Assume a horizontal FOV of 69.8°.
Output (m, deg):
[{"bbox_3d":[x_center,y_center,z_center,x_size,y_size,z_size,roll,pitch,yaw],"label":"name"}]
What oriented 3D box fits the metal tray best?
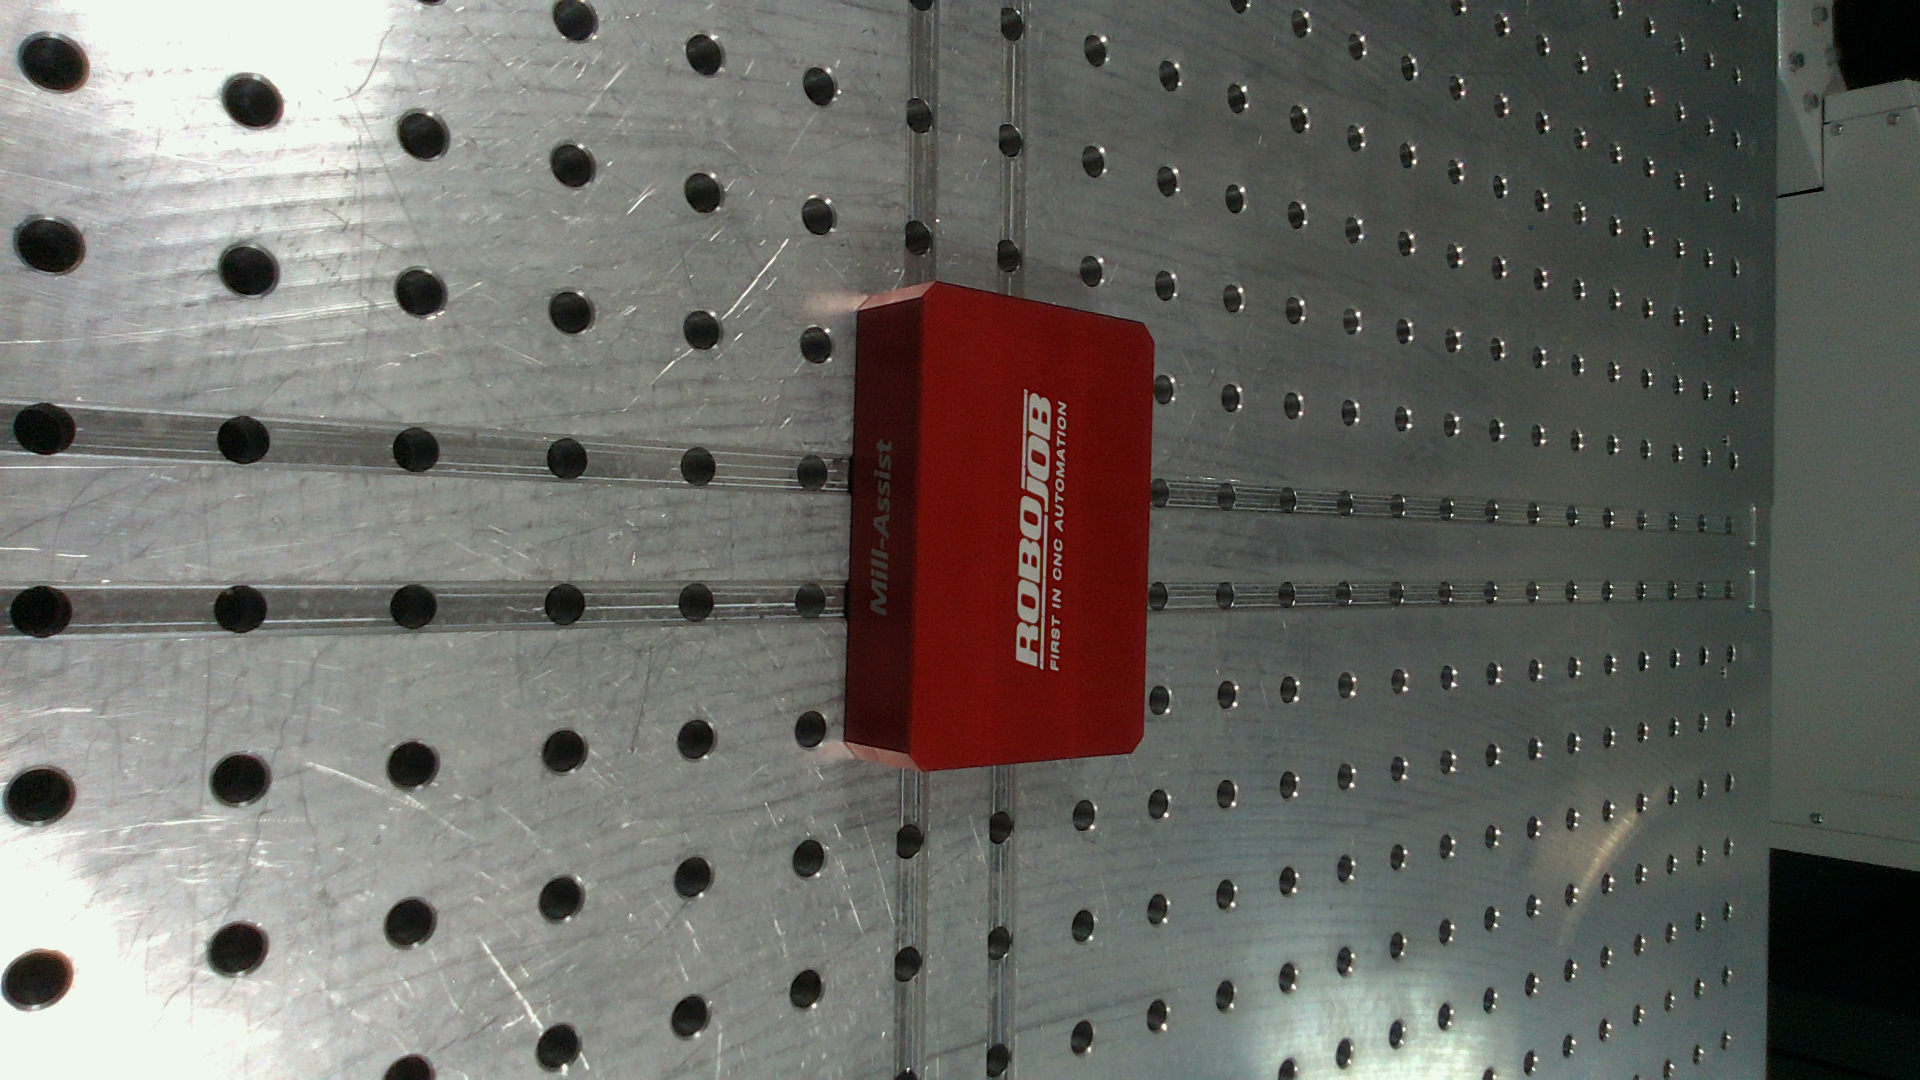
[{"bbox_3d":[0.013,-0.003,0.399,0.090,0.030,0.130,3,88,-40],"label":"metal tray"}]
